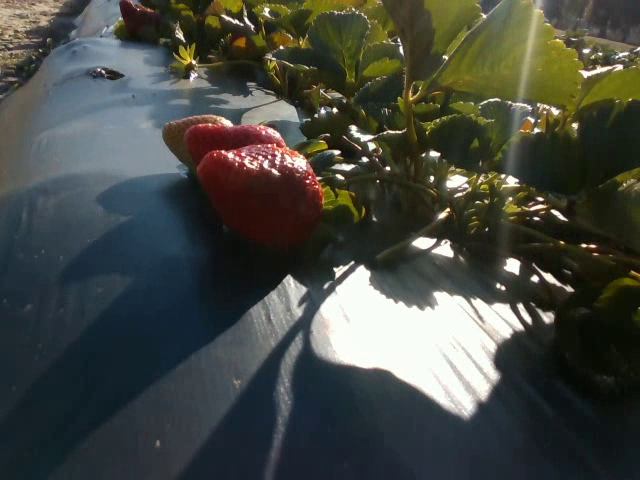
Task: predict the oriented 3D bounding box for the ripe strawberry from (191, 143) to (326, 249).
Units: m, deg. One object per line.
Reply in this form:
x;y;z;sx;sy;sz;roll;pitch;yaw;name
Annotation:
-0.027;-0.022;0.247;0.057;0.051;0.067;-4;-16;32;ripe strawberry

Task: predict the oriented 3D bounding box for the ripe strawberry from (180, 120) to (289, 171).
-0.040;-0.041;0.295;0.061;0.043;0.050;22;39;-9;ripe strawberry
